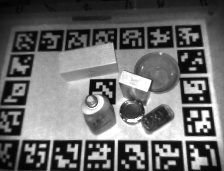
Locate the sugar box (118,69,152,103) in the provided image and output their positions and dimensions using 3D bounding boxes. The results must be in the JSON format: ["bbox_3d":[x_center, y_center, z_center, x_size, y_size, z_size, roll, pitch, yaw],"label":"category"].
[{"bbox_3d":[0.080,0.004,0.700,0.092,0.178,0.045,18,75,17],"label":"sugar box"}]

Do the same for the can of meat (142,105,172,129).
[{"bbox_3d":[0.147,0.103,0.715,0.102,0.084,0.057,-29,66,-6],"label":"can of meat"}]

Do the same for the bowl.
[{"bbox_3d":[0.169,-0.053,0.780,0.161,0.055,0.161,-3,70,9],"label":"bowl"}]

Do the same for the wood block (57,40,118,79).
[{"bbox_3d":[-0.088,-0.096,0.805,0.206,0.090,0.090,-10,74,1],"label":"wood block"}]

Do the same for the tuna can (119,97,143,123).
[{"bbox_3d":[0.065,0.087,0.748,0.085,0.034,0.085,-2,73,6],"label":"tuna can"}]

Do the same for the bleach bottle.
[{"bbox_3d":[-0.047,0.075,0.651,0.103,0.252,0.067,-26,68,-2],"label":"bleach bottle"}]
